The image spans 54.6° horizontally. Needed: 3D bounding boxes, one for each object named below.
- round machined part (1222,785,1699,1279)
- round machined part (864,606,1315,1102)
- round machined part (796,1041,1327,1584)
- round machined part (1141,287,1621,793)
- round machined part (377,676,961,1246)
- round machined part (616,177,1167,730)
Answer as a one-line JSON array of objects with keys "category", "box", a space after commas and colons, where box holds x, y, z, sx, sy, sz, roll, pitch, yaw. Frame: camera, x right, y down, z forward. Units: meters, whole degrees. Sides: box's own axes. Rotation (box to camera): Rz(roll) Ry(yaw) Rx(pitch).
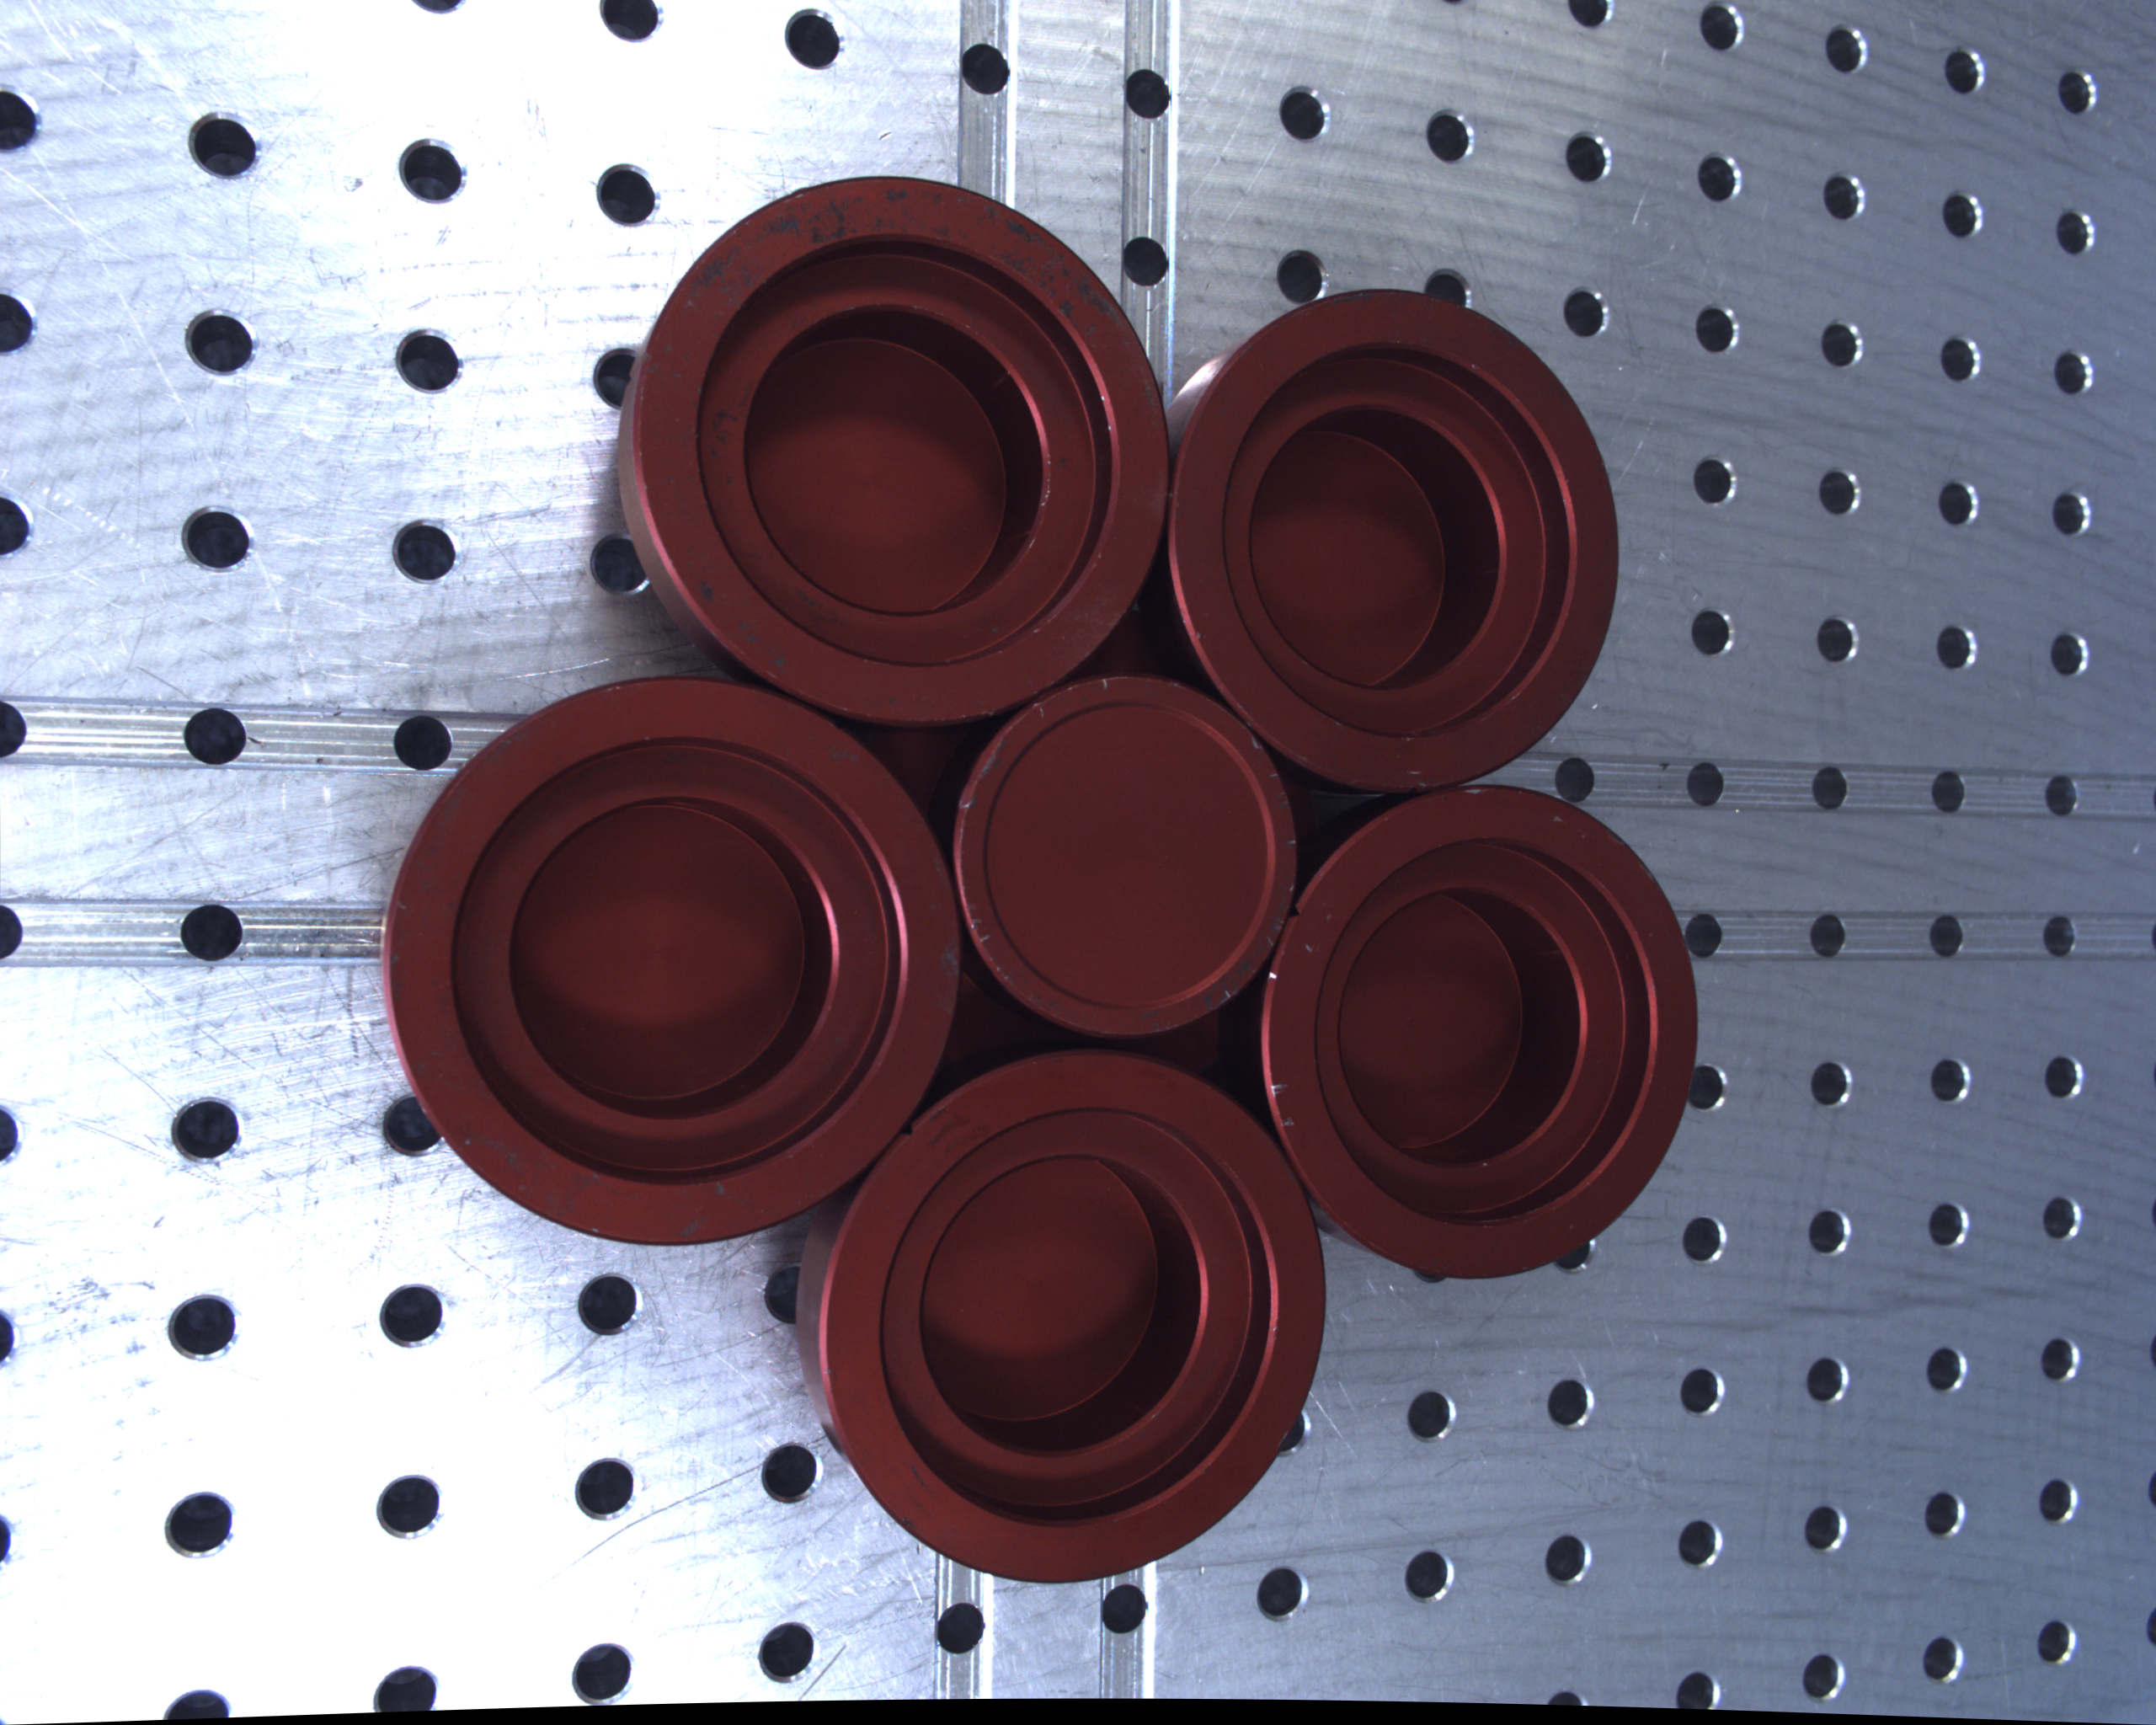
[{"category": "round machined part", "box": [0.074, 0.033, 0.430, 0.099, 0.042, 0.097, 0, 90, -20]}, {"category": "round machined part", "box": [0.003, -0.001, 0.404, 0.099, 0.042, 0.097, 0, 90, -20]}, {"category": "round machined part", "box": [-0.006, 0.083, 0.401, 0.099, 0.042, 0.097, 0, 90, -20]}, {"category": "round machined part", "box": [0.056, -0.063, 0.424, 0.099, 0.042, 0.097, 0, 90, -20]}, {"category": "round machined part", "box": [-0.074, 0.017, 0.376, 0.099, 0.042, 0.097, 0, 90, -20]}, {"category": "round machined part", "box": [-0.036, -0.073, 0.390, 0.099, 0.042, 0.097, 0, 90, -20]}]
